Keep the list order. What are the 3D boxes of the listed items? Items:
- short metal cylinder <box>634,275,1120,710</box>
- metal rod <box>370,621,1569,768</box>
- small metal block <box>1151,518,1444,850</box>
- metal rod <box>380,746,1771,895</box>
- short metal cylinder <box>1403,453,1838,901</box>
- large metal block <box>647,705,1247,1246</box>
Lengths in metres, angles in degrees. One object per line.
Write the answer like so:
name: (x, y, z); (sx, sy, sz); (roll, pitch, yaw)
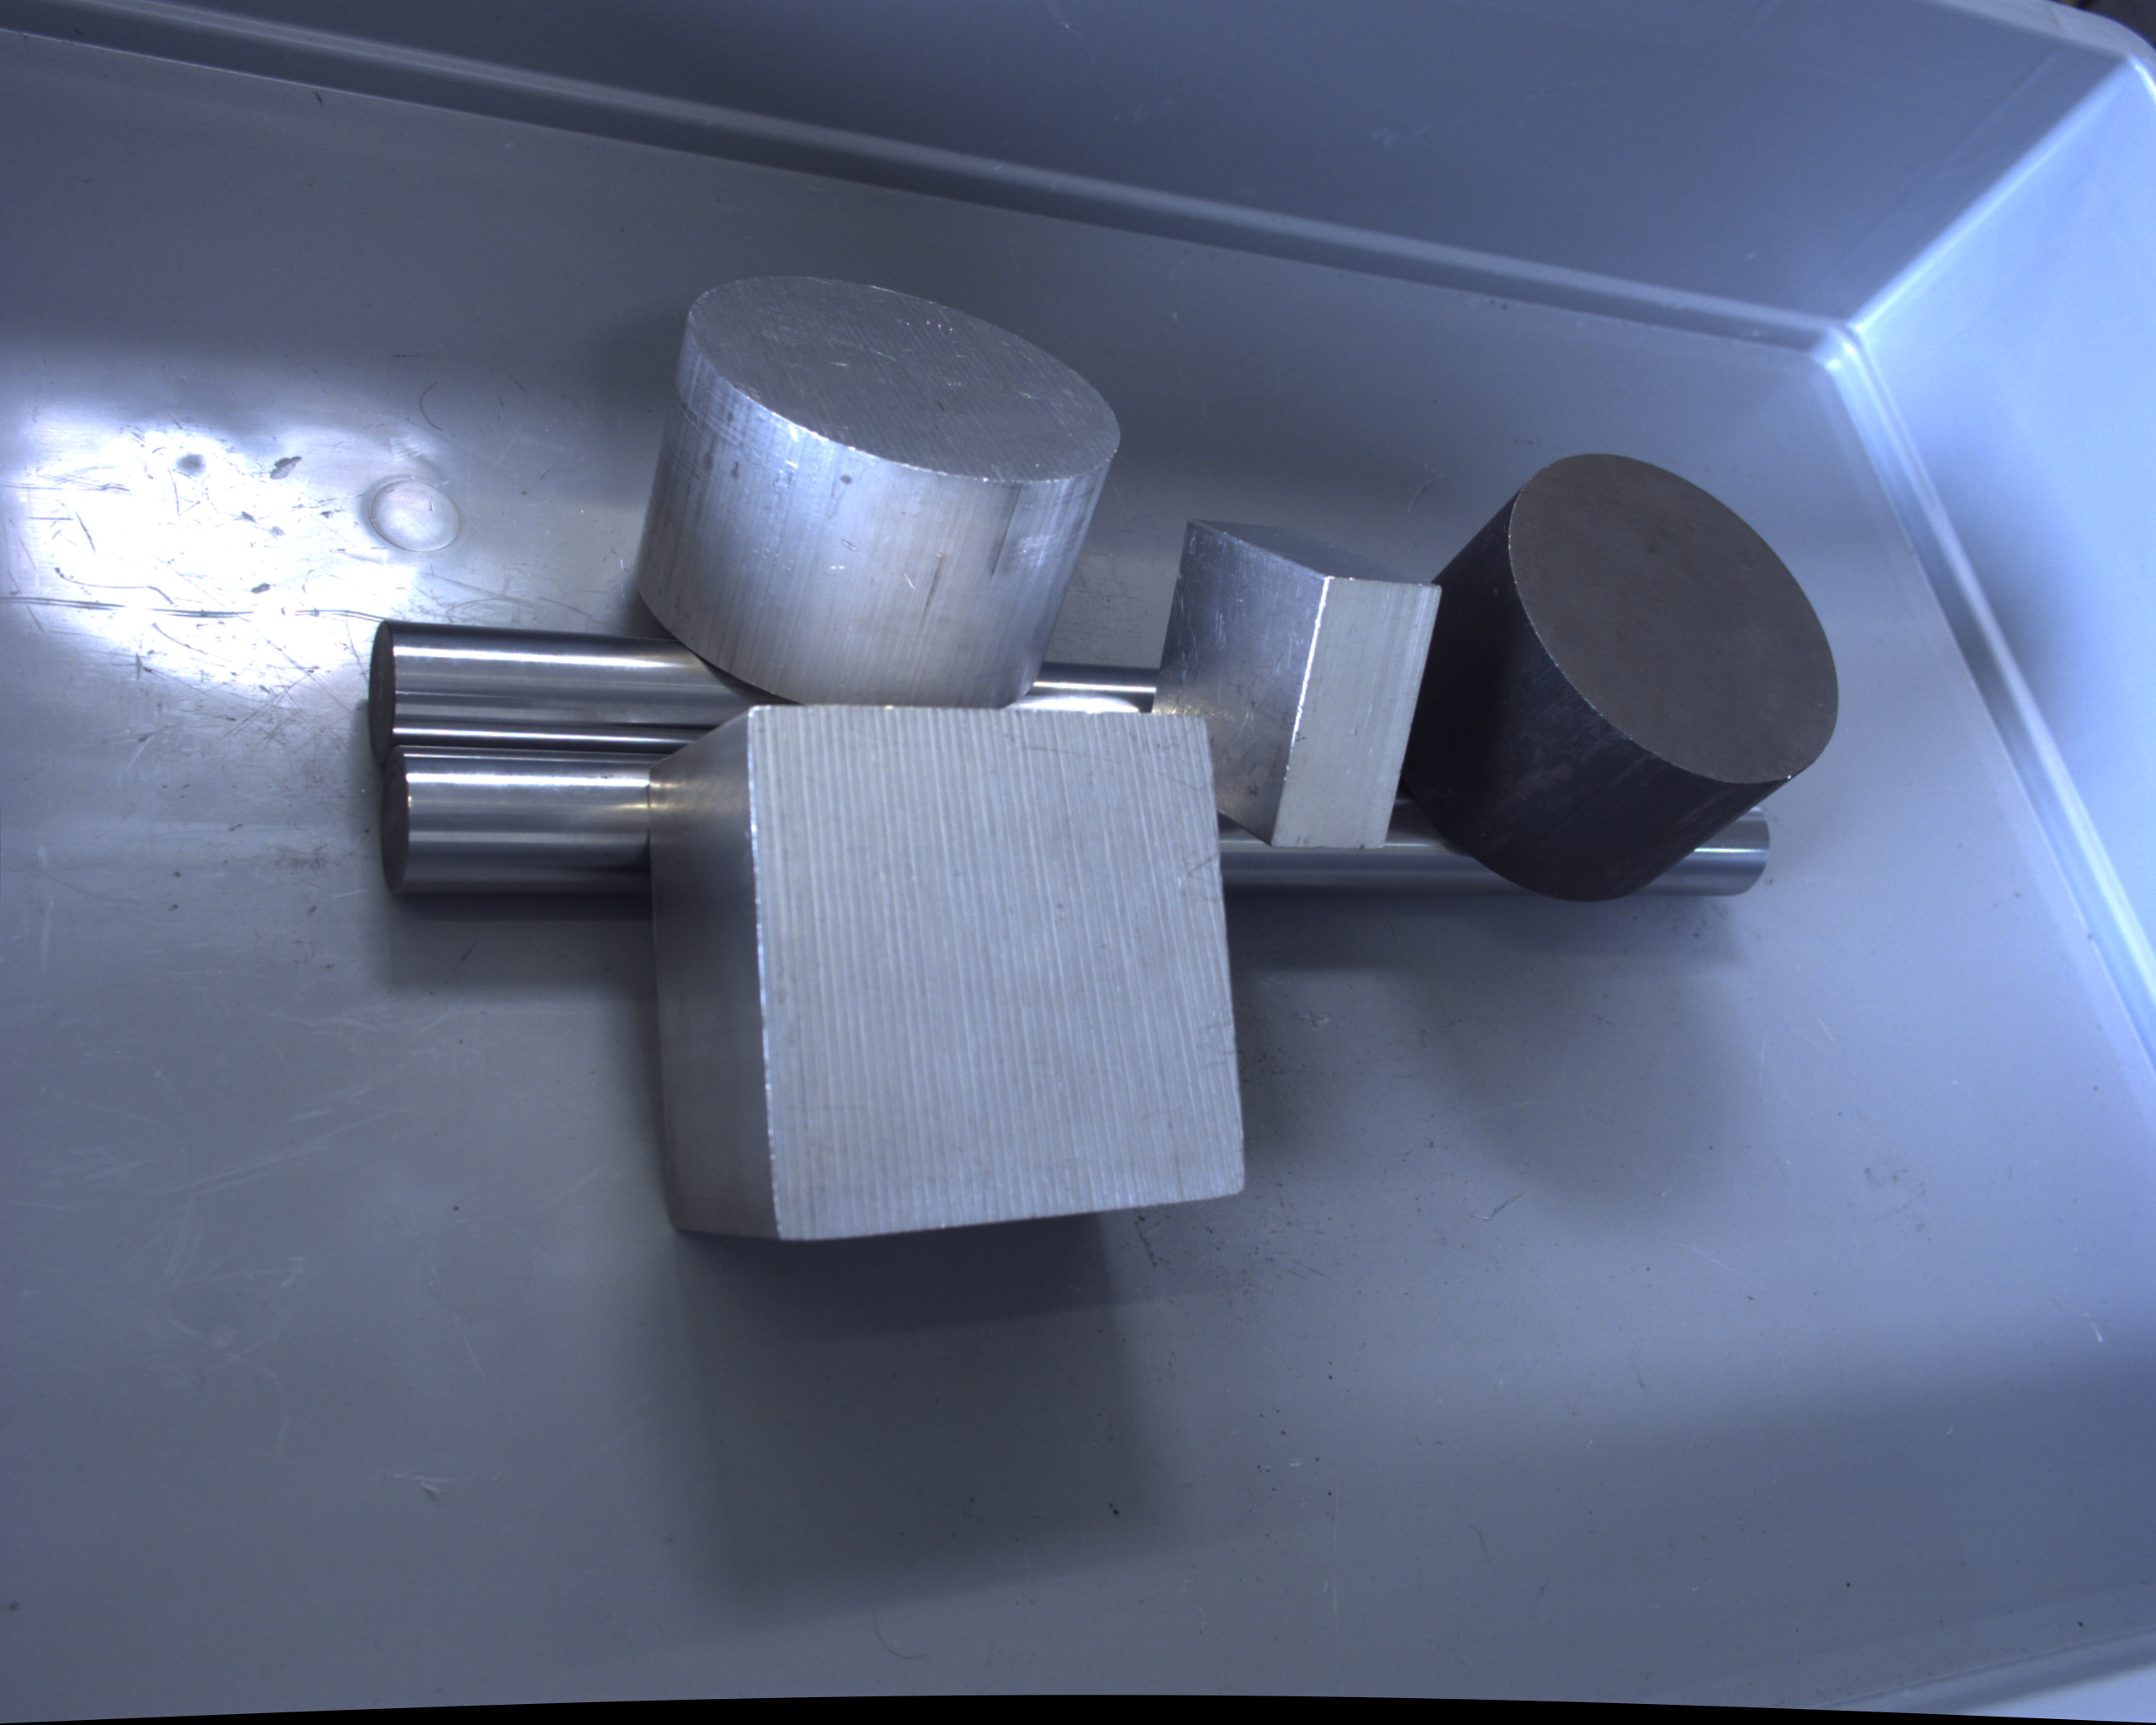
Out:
short metal cylinder: (-0.038, -0.069, 0.391); (0.081, 0.050, 0.080); (15, 33, -9)
metal rod: (0.014, -0.028, 0.428); (0.303, 0.025, 0.025); (0, 62, -28)
small metal block: (0.039, -0.034, 0.393); (0.025, 0.050, 0.050); (1, 19, -28)
metal rod: (0.020, -0.006, 0.418); (0.303, 0.025, 0.025); (0, 62, -28)
short metal cylinder: (0.110, -0.039, 0.439); (0.081, 0.050, 0.080); (14, 56, -21)
large metal block: (-0.023, 0.019, 0.346); (0.081, 0.050, 0.080); (-1, 82, -29)
